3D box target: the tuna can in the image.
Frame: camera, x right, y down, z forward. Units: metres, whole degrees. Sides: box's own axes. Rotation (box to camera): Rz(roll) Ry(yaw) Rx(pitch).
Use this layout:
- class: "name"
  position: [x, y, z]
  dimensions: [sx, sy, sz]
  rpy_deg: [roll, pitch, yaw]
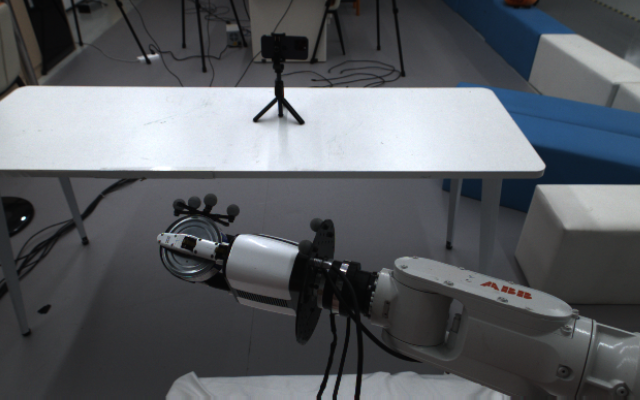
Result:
- class: "tuna can"
  position: [-0.165, 0.065, 0.645]
  dimensions: [0.085, 0.034, 0.085]
  rpy_deg: [-3, 68, 8]
